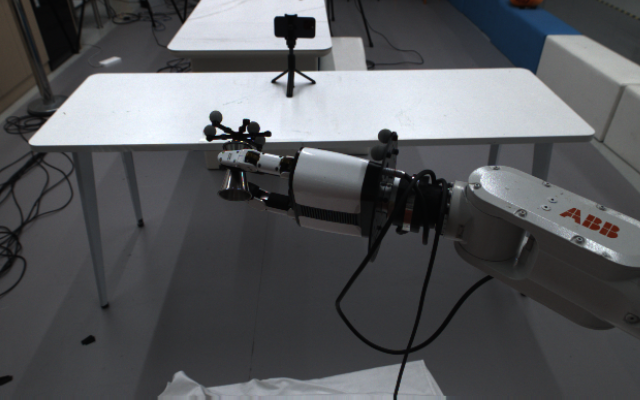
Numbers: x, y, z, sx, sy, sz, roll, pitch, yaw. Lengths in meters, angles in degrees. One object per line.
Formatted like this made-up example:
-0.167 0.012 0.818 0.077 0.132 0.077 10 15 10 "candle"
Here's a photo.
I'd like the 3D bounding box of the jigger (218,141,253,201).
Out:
-0.108 -0.039 0.626 0.043 0.043 0.071 1 70 -2 "jigger"
